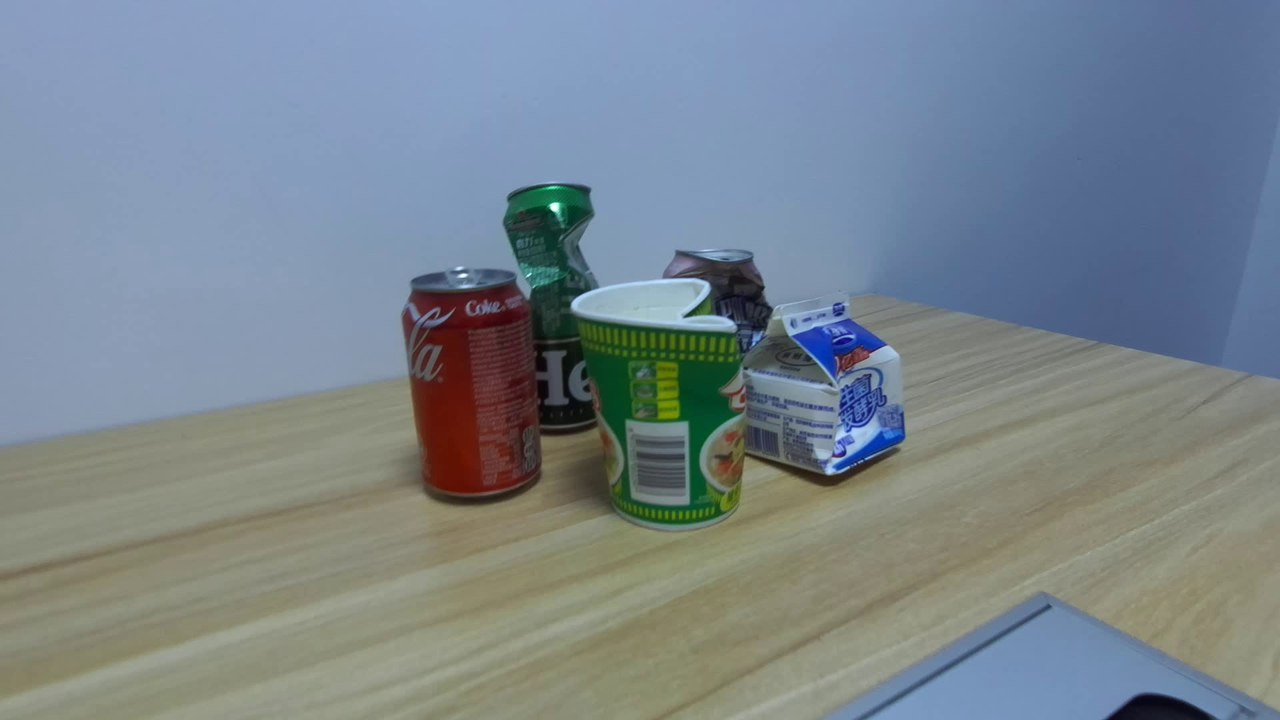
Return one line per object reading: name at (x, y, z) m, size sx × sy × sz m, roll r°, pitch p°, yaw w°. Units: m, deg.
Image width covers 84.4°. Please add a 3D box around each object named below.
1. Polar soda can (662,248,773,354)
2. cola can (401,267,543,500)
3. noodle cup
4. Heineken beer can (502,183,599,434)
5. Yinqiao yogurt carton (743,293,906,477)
Polar soda can at (0.053, -0.021, 0.493) m, size 0.070 × 0.114 × 0.074 m, roll 13°, pitch 23°, yaw 30°
cola can at (-0.090, 0.012, 0.384) m, size 0.068 × 0.120 × 0.068 m, roll -2°, pitch 17°, yaw 1°
noodle cup at (0.015, 0.021, 0.359) m, size 0.086 × 0.109 × 0.094 m, roll 4°, pitch 19°, yaw 19°
Heineken beer can at (-0.053, -0.035, 0.471) m, size 0.067 × 0.159 × 0.078 m, roll -10°, pitch 15°, yaw -29°
Yinqiao yogurt carton at (0.103, 0.010, 0.413) m, size 0.078 × 0.094 × 0.070 m, roll -15°, pitch 15°, yaw -39°
